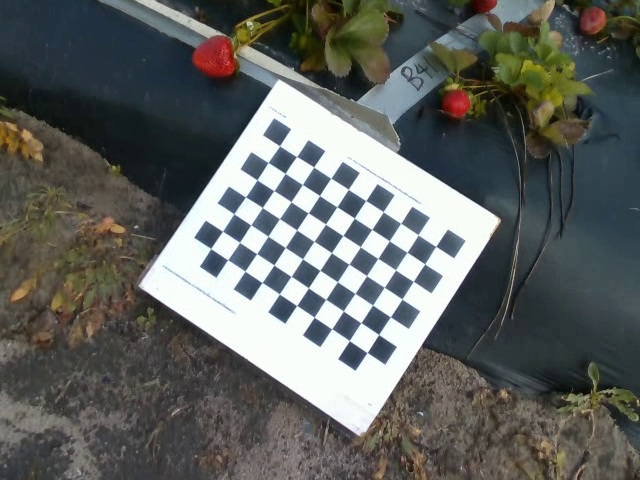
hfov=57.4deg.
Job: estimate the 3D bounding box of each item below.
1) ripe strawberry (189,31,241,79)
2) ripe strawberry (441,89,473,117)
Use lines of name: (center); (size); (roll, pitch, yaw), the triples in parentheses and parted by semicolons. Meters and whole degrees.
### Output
ripe strawberry: (-0.109, -0.186, 0.594); (0.052, 0.048, 0.030); (-16, -5, -25)
ripe strawberry: (0.151, -0.144, 0.630); (0.031, 0.038, 0.047); (-47, -6, 33)
